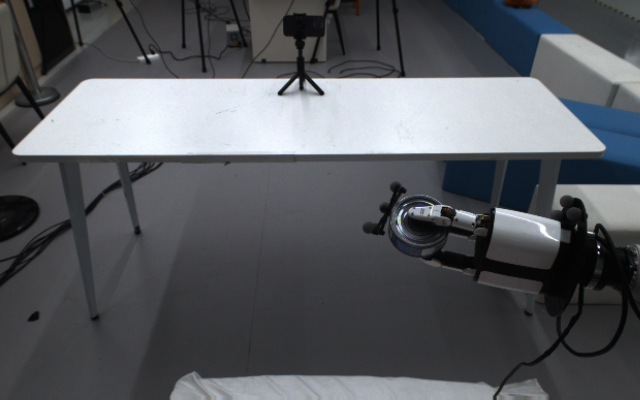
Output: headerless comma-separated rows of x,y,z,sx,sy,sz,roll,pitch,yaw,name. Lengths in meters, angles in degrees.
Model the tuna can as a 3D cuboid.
0.142,0.034,0.684,0.085,0.034,0.085,-1,61,1,tuna can
